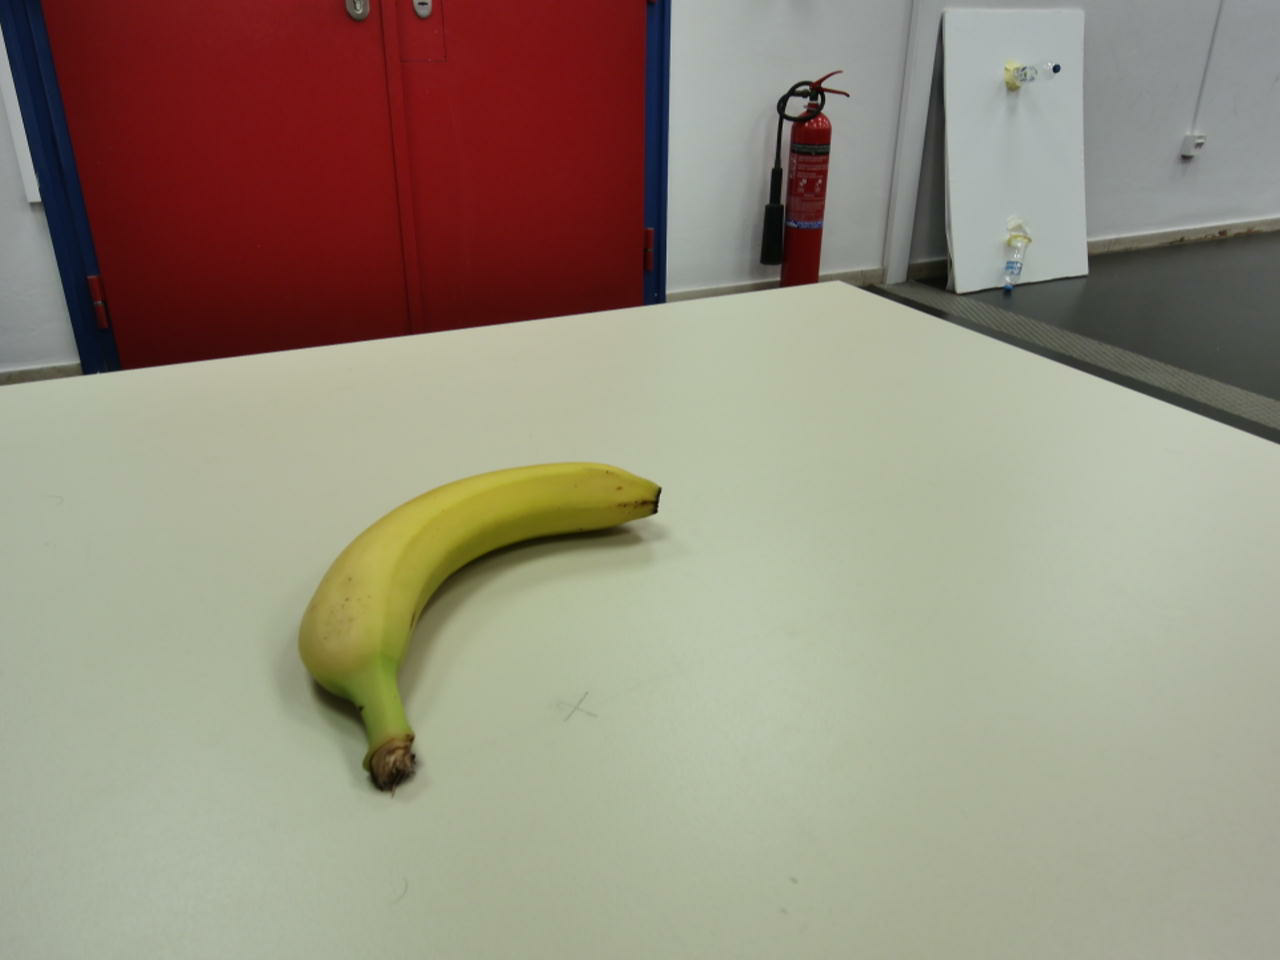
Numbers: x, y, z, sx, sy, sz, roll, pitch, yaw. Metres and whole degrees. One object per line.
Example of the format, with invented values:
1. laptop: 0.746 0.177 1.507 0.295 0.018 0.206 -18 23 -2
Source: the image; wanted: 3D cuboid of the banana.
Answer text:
1. banana: -0.072 0.035 0.400 0.094 0.041 0.196 12 26 25
